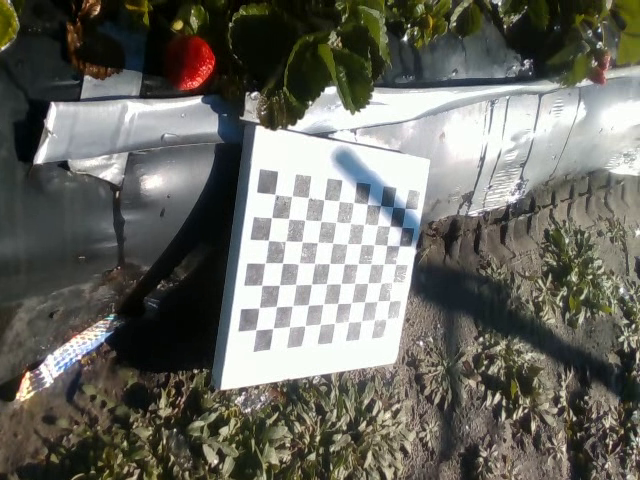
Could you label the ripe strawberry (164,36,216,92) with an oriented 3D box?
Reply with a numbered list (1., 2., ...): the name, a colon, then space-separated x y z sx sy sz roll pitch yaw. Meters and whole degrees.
1. ripe strawberry: -0.119 -0.158 0.617 0.057 0.065 0.062 -26 -44 17
